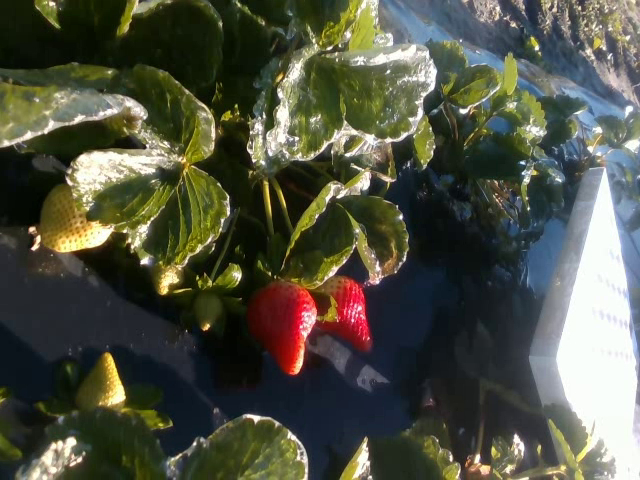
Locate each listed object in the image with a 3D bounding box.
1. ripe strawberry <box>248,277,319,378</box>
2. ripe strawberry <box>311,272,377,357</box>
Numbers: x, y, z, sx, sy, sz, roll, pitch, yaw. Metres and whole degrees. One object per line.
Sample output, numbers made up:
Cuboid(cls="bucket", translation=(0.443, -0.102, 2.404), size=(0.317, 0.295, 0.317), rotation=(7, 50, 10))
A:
Cuboid(cls="ripe strawberry", translation=(-0.017, 0.059, 0.384), size=(0.040, 0.070, 0.052), rotation=(-9, -17, 29))
Cuboid(cls="ripe strawberry", translation=(0.023, 0.051, 0.420), size=(0.040, 0.059, 0.044), rotation=(-8, 29, 40))
